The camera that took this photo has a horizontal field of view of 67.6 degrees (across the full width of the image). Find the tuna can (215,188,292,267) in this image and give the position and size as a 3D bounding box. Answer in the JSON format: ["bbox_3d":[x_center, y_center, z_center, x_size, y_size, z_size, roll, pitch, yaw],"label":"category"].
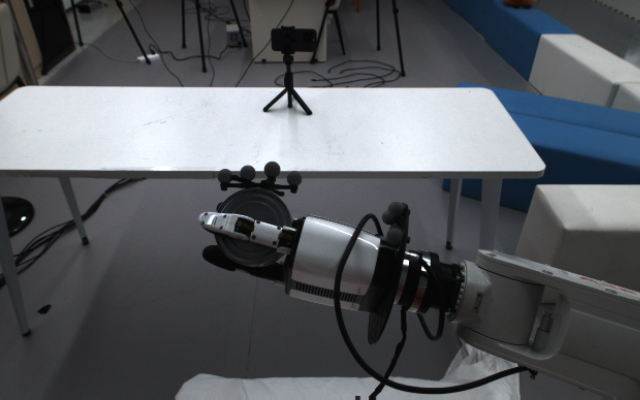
[{"bbox_3d":[-0.071,0.031,0.538,0.085,0.034,0.085,-1,76,4],"label":"tuna can"}]
